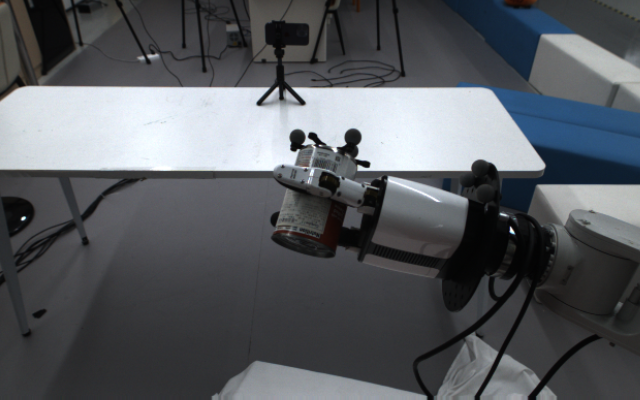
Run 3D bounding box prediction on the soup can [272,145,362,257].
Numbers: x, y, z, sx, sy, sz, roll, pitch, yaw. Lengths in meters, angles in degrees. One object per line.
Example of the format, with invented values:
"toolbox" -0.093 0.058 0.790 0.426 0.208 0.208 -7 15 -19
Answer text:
"soup can" -0.002 0.002 0.506 0.067 0.067 0.101 11 72 13
